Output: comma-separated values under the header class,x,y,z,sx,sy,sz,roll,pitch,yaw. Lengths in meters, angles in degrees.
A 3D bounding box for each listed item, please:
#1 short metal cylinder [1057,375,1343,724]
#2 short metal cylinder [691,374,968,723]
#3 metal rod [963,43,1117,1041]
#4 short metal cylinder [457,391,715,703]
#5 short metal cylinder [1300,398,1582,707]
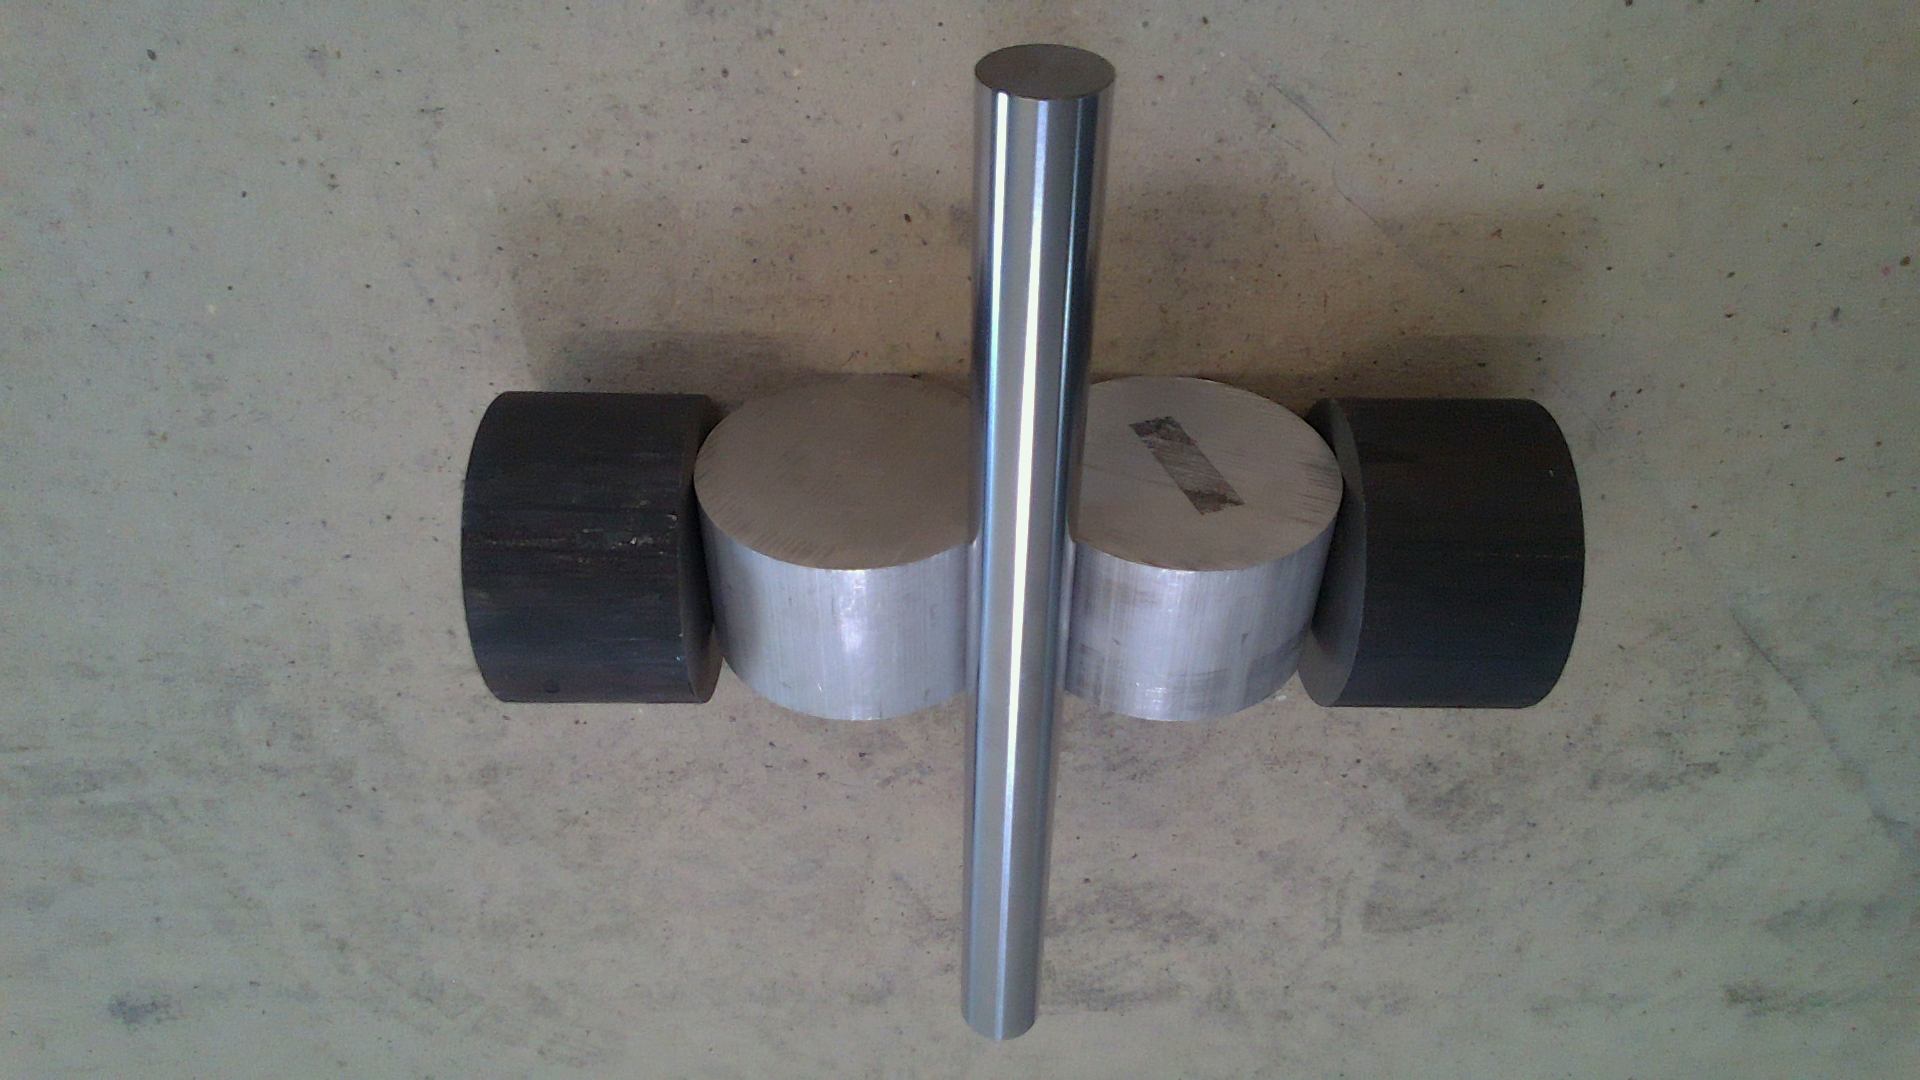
class,x,y,z,sx,sy,sz,roll,pitch,yaw
short metal cylinder,0.053,0.001,0.355,0.080,0.080,0.050,1,130,-1
short metal cylinder,-0.026,0.000,0.355,0.080,0.080,0.050,1,130,-1
metal rod,0.014,0.032,0.337,0.025,0.025,0.300,0,130,0
short metal cylinder,-0.091,0.002,0.356,0.050,0.080,0.080,1,130,0
short metal cylinder,0.119,0.003,0.359,0.050,0.080,0.080,1,130,0
